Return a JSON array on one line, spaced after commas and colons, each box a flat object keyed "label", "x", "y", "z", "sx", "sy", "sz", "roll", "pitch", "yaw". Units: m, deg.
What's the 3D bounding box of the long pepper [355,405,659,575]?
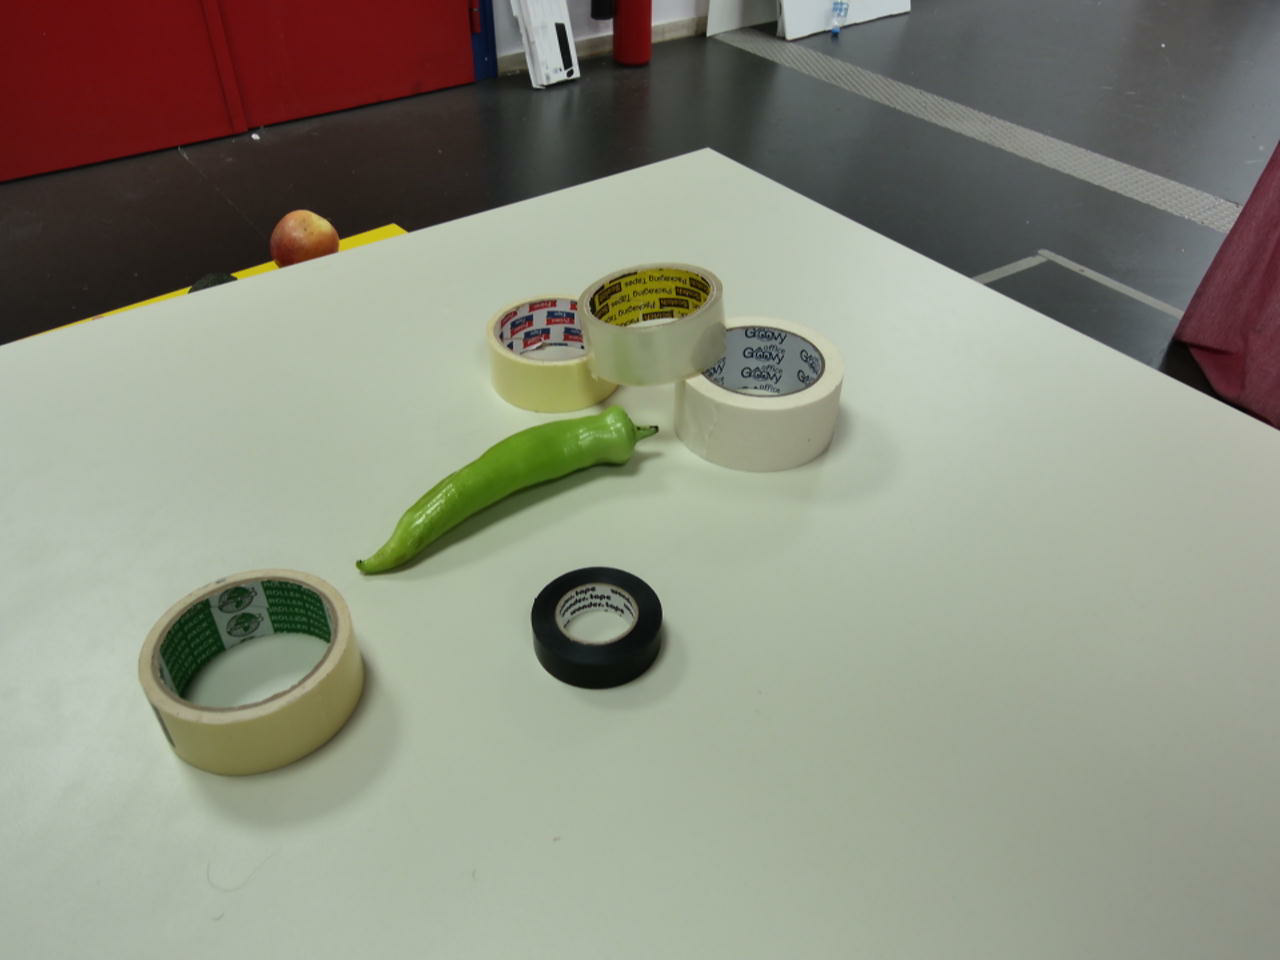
[{"label": "long pepper", "x": -0.078, "y": -0.003, "z": 0.578, "sx": 0.197, "sy": 0.038, "sz": 0.047, "roll": -23, "pitch": 44, "yaw": -27}]
